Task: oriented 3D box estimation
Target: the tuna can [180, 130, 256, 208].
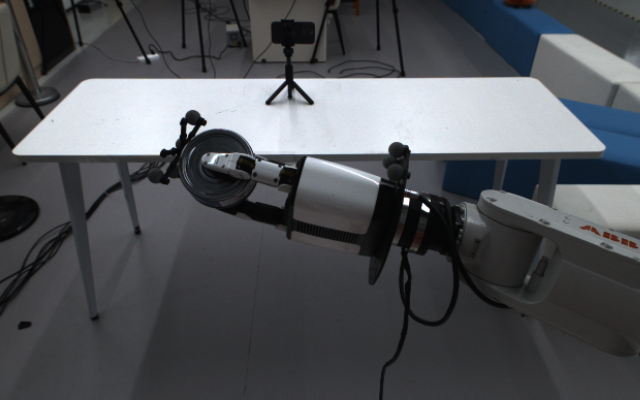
[{"bbox_3d":[-0.109,-0.031,0.541,0.085,0.034,0.085,0,75,-2],"label":"tuna can"}]
